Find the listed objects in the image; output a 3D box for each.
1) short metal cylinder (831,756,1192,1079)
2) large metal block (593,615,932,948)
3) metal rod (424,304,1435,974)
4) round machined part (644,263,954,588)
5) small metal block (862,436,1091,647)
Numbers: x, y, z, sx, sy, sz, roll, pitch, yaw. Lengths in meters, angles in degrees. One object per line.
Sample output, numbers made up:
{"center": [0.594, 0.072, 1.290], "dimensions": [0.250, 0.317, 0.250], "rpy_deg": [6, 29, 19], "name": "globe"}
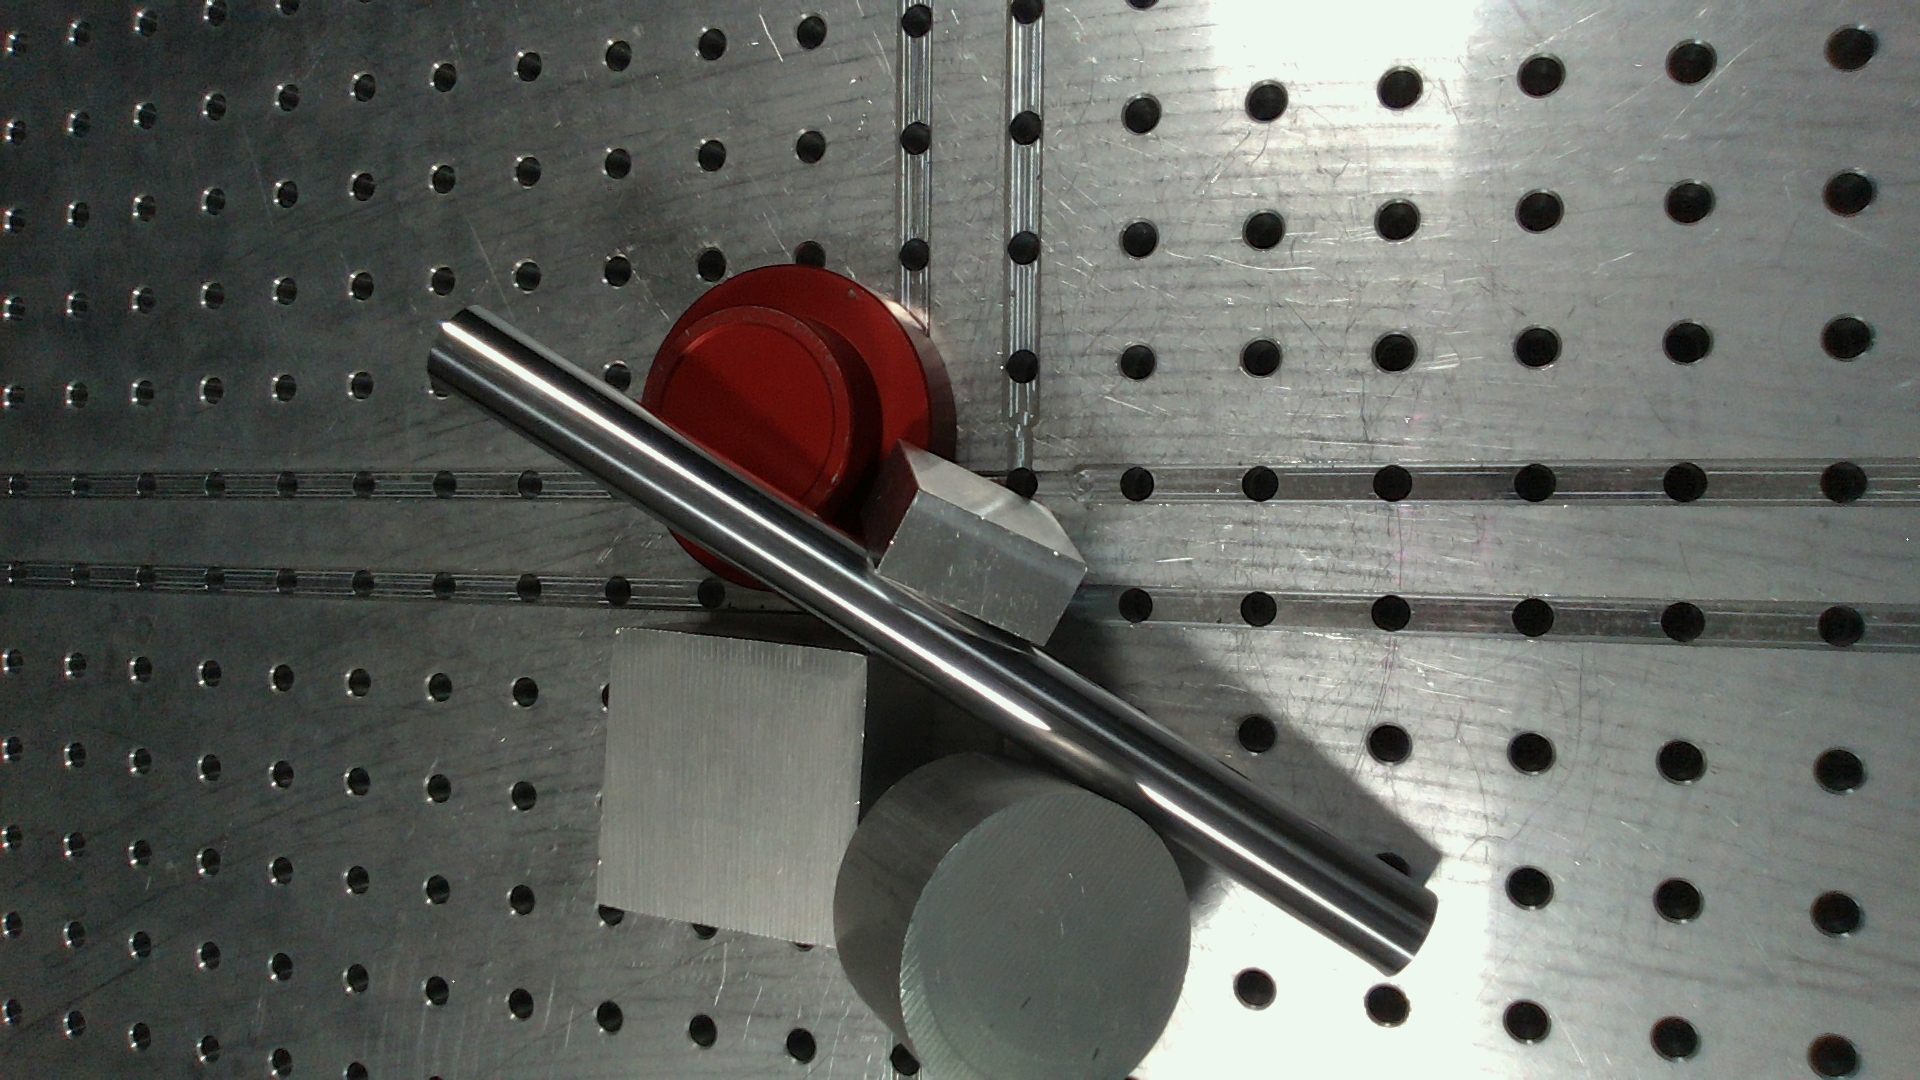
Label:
{"center": [0.013, 0.100, 0.358], "dimensions": [0.080, 0.050, 0.080], "rpy_deg": [-2, 94, -25], "name": "short metal cylinder"}
{"center": [-0.056, 0.067, 0.403], "dimensions": [0.080, 0.050, 0.080], "rpy_deg": [5, 92, 20], "name": "large metal block"}
{"center": [-0.012, 0.024, 0.368], "dimensions": [0.300, 0.025, 0.025], "rpy_deg": [31, 101, 4], "name": "metal rod"}
{"center": [-0.054, -0.034, 0.409], "dimensions": [0.098, 0.042, 0.098], "rpy_deg": [0, 90, 20], "name": "round machined part"}
{"center": [0.002, -0.001, 0.374], "dimensions": [0.050, 0.050, 0.025], "rpy_deg": [24, 103, -16], "name": "small metal block"}
